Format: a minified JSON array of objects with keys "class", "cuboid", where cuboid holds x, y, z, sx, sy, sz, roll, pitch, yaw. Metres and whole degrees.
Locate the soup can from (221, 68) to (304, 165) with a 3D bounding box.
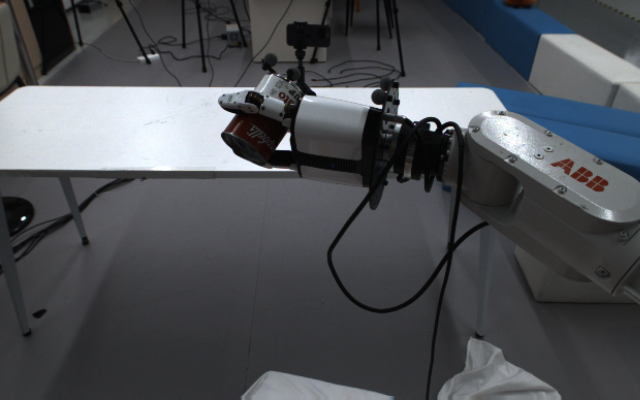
[{"class":"soup can","cuboid":[-0.070,-0.104,0.622,0.067,0.067,0.101,24,73,28]}]
